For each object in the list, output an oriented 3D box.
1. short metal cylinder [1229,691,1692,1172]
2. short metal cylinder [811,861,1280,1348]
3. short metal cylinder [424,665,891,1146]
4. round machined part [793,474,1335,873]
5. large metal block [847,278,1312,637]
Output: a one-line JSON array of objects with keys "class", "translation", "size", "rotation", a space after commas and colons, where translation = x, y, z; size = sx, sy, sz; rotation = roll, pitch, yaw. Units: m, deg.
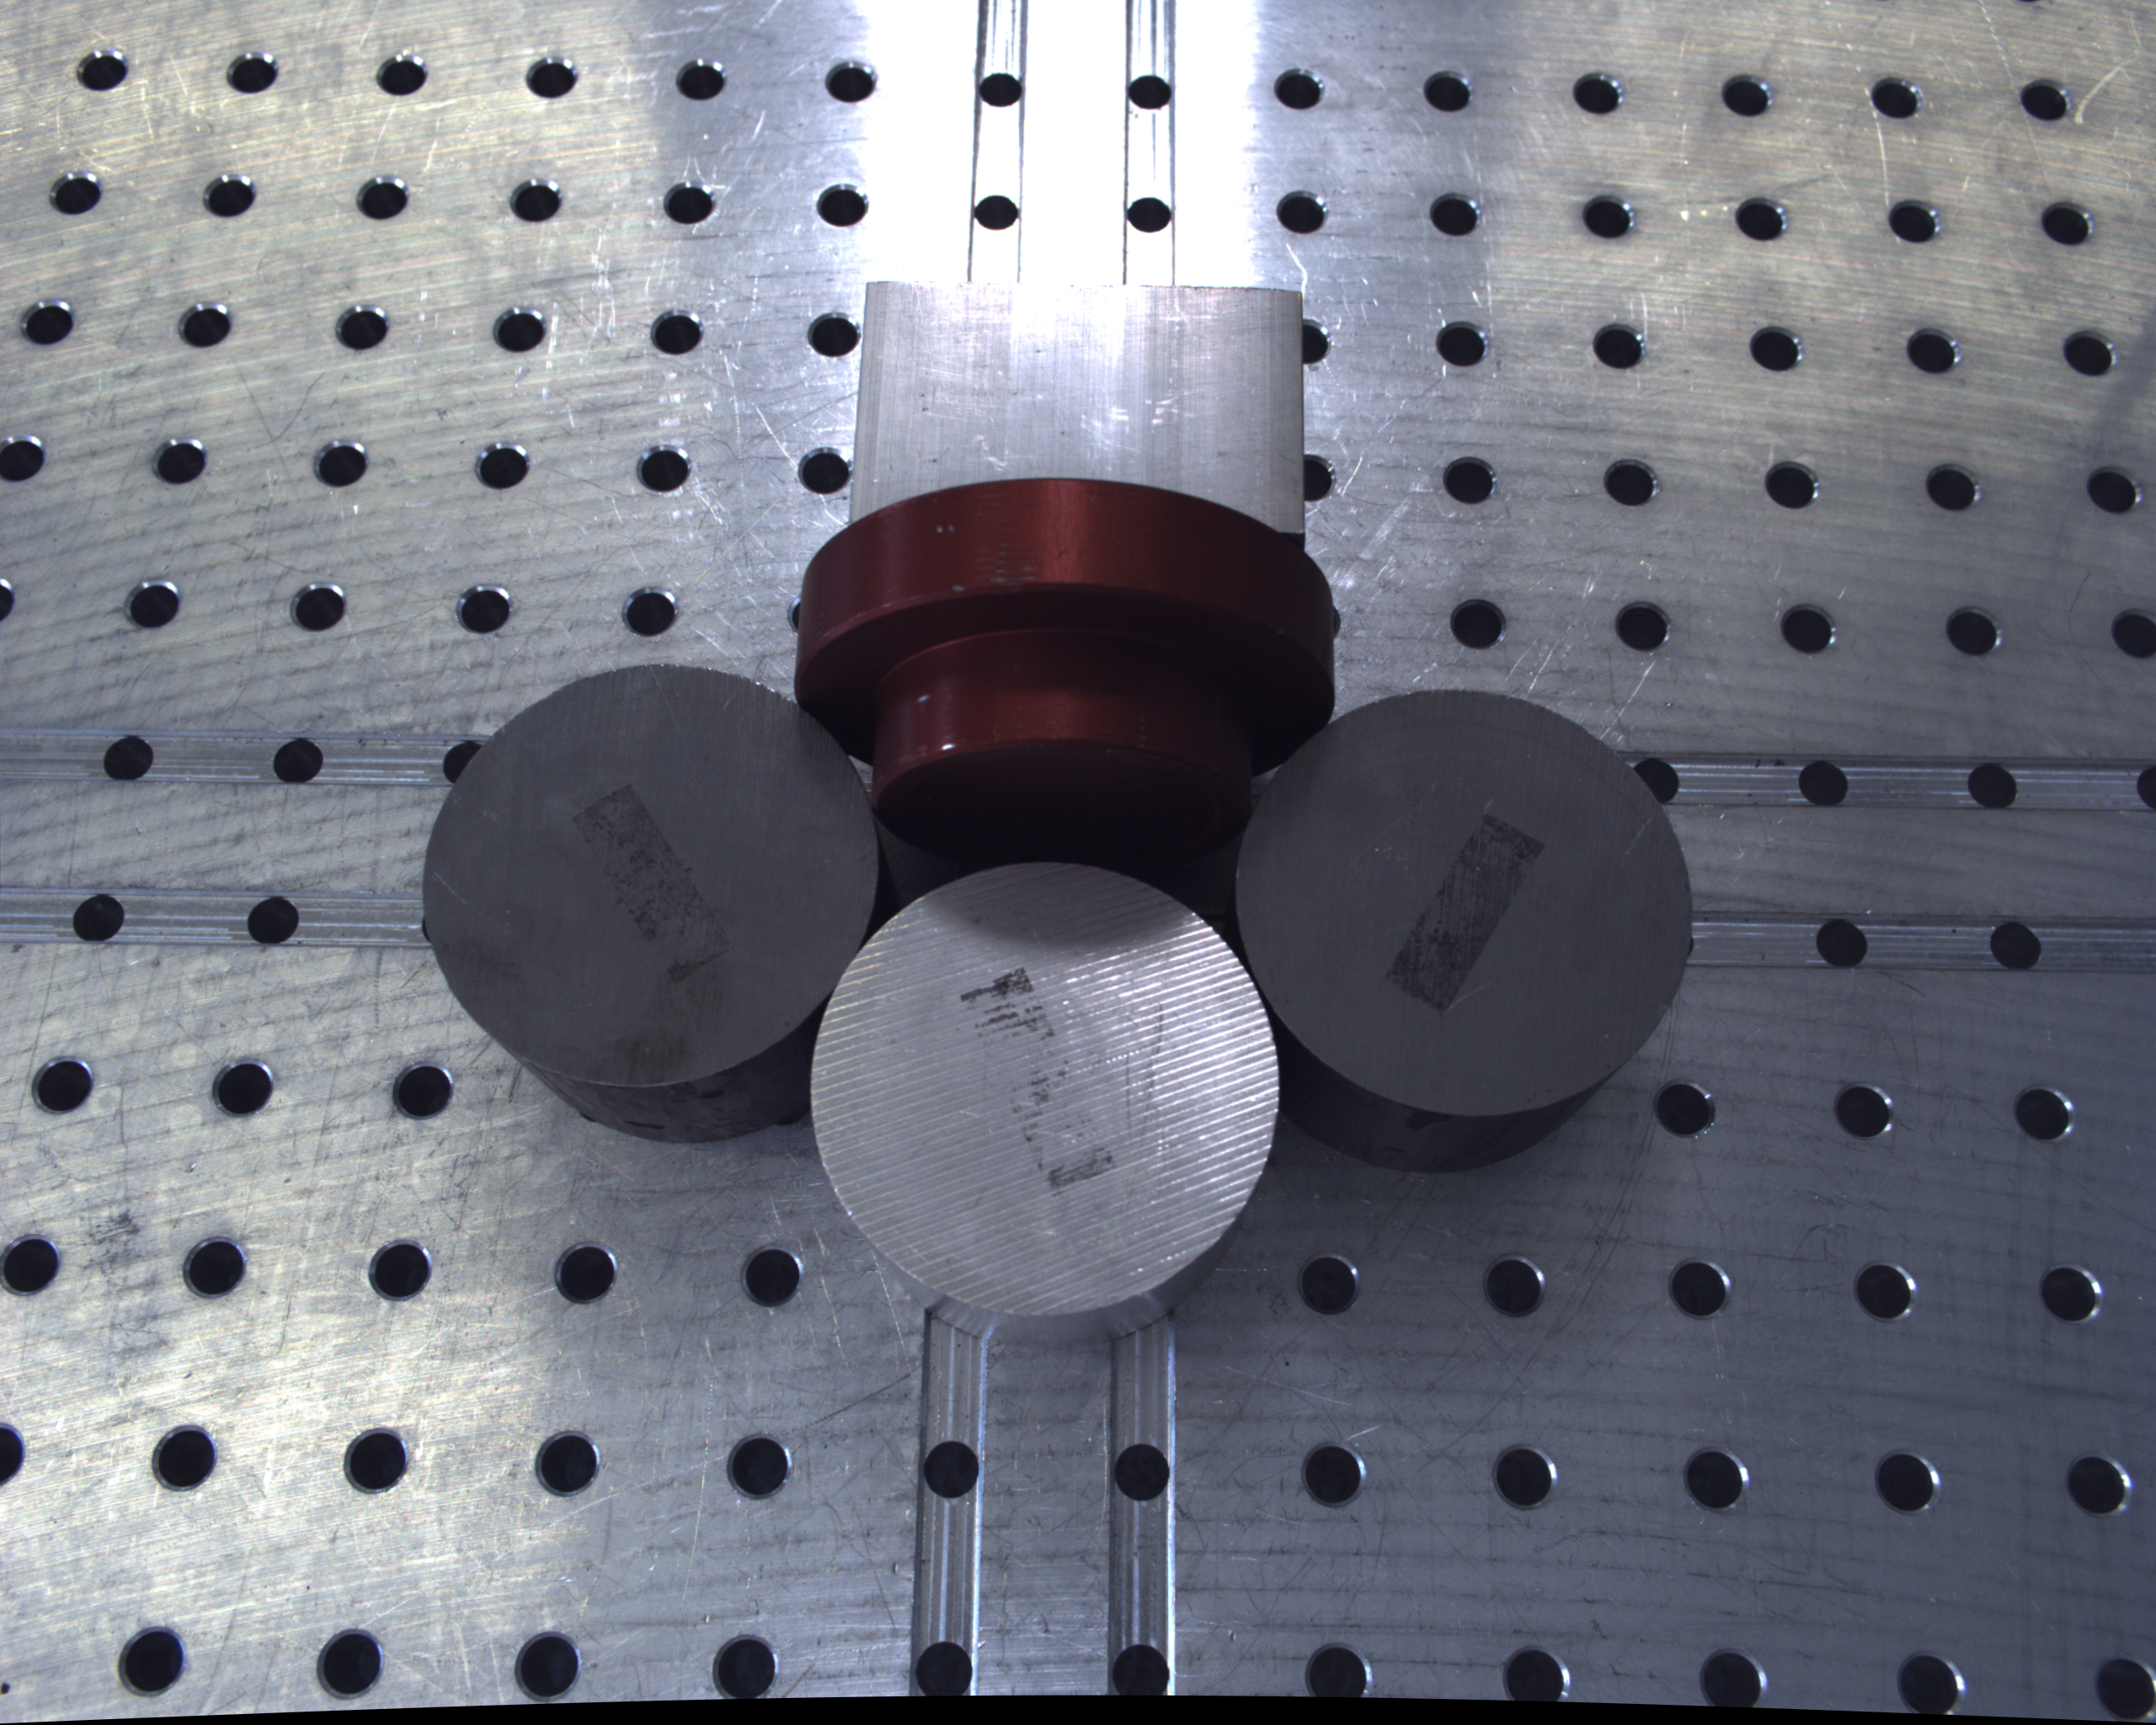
[{"class": "short metal cylinder", "translation": [0.069, 0.014, 0.394], "size": [0.081, 0.050, 0.080], "rotation": [0, 70, 0]}, {"class": "short metal cylinder", "translation": [-0.005, 0.045, 0.382], "size": [0.081, 0.050, 0.080], "rotation": [0, 70, 0]}, {"class": "short metal cylinder", "translation": [-0.076, 0.009, 0.395], "size": [0.081, 0.050, 0.080], "rotation": [0, 70, 0]}, {"class": "round machined part", "translation": [-0.003, -0.028, 0.381], "size": [0.099, 0.098, 0.042], "rotation": [2, 70, 0]}, {"class": "large metal block", "translation": [0.001, -0.069, 0.407], "size": [0.081, 0.080, 0.050], "rotation": [1, 70, 0]}]
